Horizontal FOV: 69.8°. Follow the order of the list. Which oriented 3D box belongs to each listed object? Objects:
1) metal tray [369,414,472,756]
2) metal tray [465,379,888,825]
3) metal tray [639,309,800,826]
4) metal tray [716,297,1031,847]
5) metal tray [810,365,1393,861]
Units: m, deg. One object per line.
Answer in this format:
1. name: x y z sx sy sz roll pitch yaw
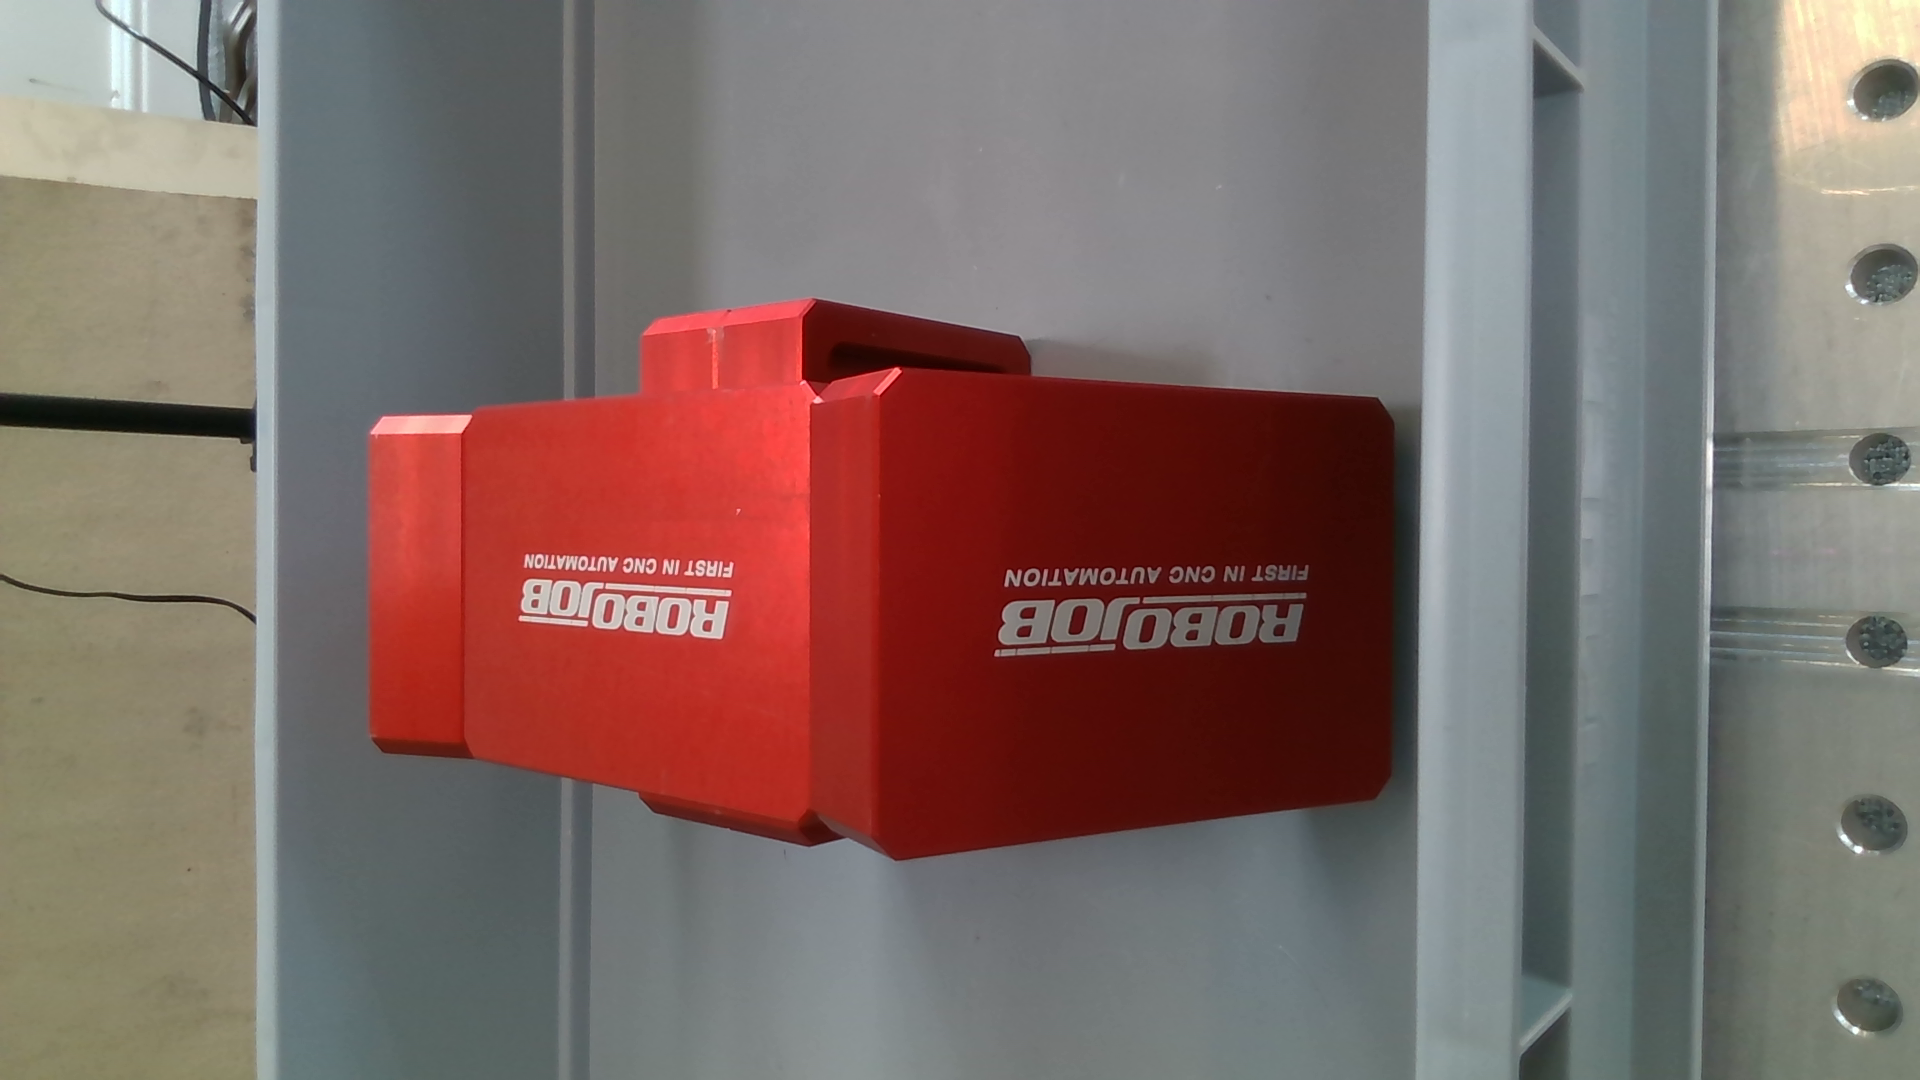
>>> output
1. metal tray: -0.123 0.011 0.423 0.030 0.130 0.090 0 91 18
2. metal tray: -0.069 0.012 0.327 0.130 0.030 0.090 1 92 40
3. metal tray: -0.044 0.007 0.385 0.030 0.090 0.130 1 91 40
4. metal tray: -0.020 0.008 0.365 0.030 0.090 0.130 1 91 40
5. metal tray: 0.034 0.013 0.291 0.030 0.130 0.090 2 92 60
